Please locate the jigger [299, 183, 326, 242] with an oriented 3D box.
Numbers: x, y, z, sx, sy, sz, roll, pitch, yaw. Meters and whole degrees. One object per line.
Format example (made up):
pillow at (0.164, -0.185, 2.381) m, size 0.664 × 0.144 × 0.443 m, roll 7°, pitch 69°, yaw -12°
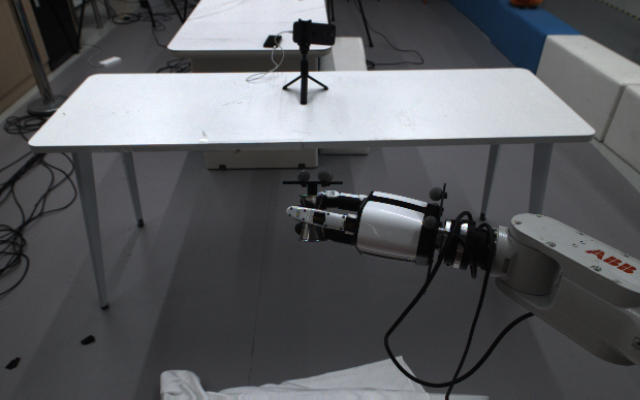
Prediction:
jigger at (-0.011, 0.025, 0.719) m, size 0.043 × 0.071 × 0.043 m, roll -1°, pitch 2°, yaw 0°
